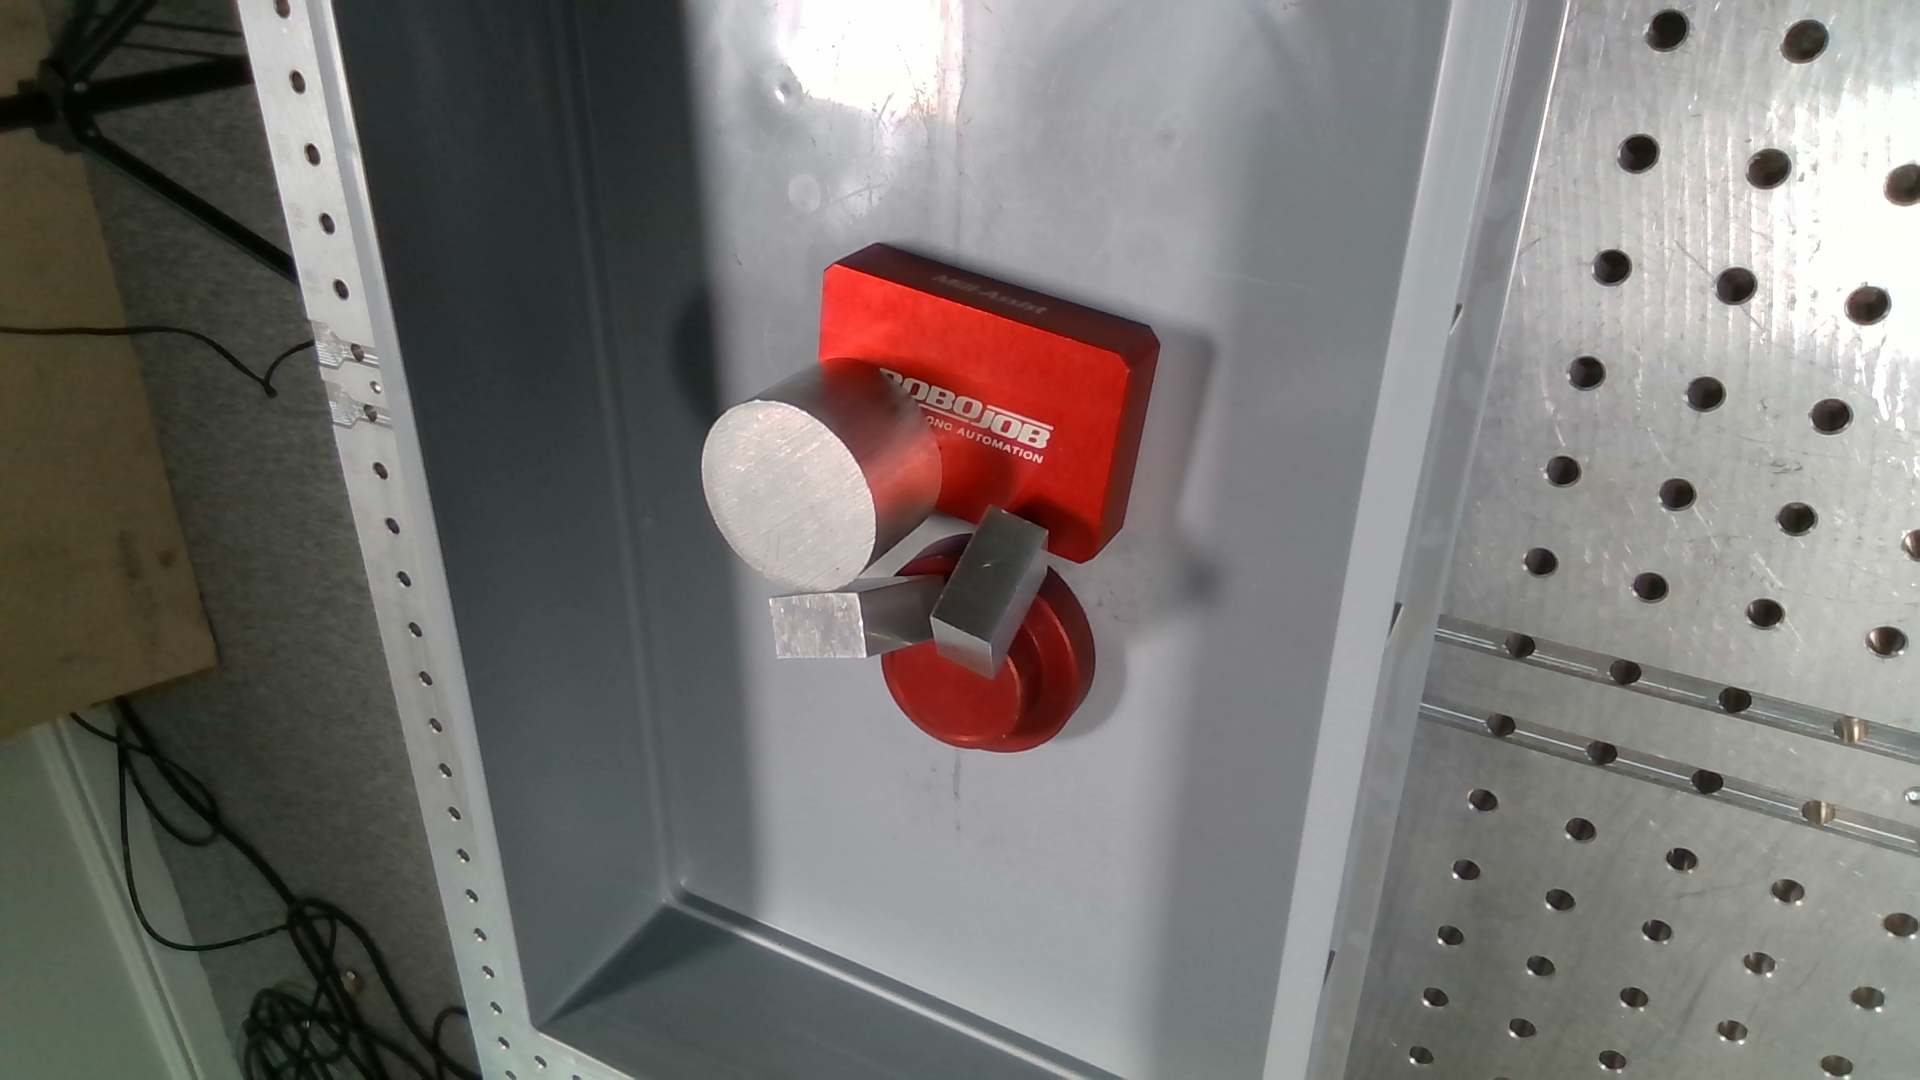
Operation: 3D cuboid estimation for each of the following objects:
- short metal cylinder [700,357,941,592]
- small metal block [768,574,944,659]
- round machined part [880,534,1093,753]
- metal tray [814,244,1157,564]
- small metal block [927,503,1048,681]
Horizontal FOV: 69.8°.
[{"bbox_3d":[-0.055,-0.026,0.543,0.080,0.050,0.080,14,122,25],"label":"short metal cylinder"},{"bbox_3d":[-0.040,0.031,0.553,0.050,0.050,0.025,-5,94,40],"label":"small metal block"},{"bbox_3d":[0.005,0.050,0.592,0.098,0.042,0.098,14,122,25],"label":"round machined part"},{"bbox_3d":[0.005,-0.055,0.540,0.130,0.030,0.090,21,124,20],"label":"metal tray"},{"bbox_3d":[0.012,0.021,0.534,0.025,0.050,0.050,25,162,12],"label":"small metal block"}]
